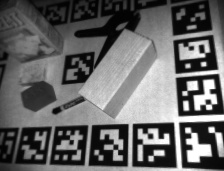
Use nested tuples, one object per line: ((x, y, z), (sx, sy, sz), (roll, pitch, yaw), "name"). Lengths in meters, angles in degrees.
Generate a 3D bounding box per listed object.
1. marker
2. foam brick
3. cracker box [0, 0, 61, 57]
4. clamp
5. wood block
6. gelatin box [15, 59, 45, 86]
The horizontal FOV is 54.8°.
((-0.144, 0.056, 0.617), (0.120, 0.020, 0.019), (-23, 67, 10), "marker")
((-0.232, 0.029, 0.641), (0.078, 0.052, 0.052), (-28, 66, 9), "foam brick")
((-0.277, -0.169, 0.630), (0.163, 0.216, 0.072), (-8, 68, 16), "cracker box")
((-0.019, -0.158, 0.641), (0.202, 0.037, 0.164), (-33, 65, 6), "clamp")
((0.002, -0.027, 0.561), (0.089, 0.092, 0.206), (33, 82, 29), "wood block")
((-0.261, -0.041, 0.691), (0.088, 0.030, 0.073), (-5, 72, 18), "gelatin box")
